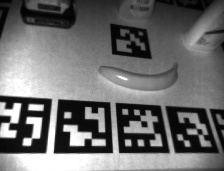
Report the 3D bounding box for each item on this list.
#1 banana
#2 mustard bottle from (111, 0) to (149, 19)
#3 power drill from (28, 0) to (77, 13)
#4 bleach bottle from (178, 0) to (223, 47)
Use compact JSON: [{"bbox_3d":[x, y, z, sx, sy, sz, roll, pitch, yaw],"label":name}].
[{"bbox_3d":[0.066,-0.028,0.473,0.199,0.039,0.074,-4,65,-16],"label":"banana"},{"bbox_3d":[0.066,-0.247,0.518,0.097,0.191,0.058,-5,63,-20],"label":"mustard bottle"},{"bbox_3d":[-0.105,-0.228,0.417,0.186,0.187,0.057,-5,63,-15],"label":"power drill"},{"bbox_3d":[0.264,-0.199,0.514,0.103,0.250,0.067,9,59,-11],"label":"bleach bottle"}]
